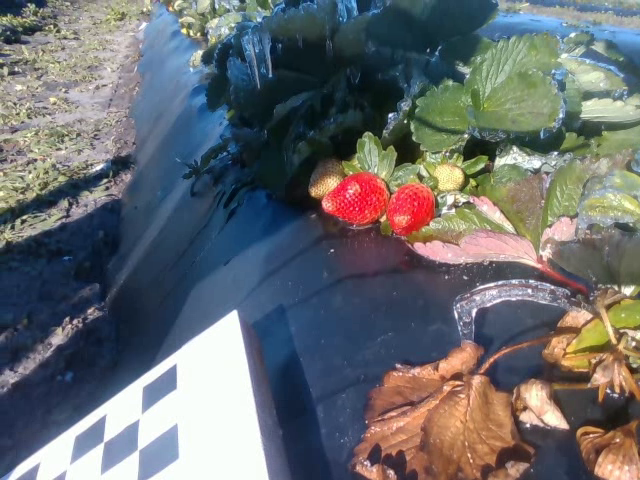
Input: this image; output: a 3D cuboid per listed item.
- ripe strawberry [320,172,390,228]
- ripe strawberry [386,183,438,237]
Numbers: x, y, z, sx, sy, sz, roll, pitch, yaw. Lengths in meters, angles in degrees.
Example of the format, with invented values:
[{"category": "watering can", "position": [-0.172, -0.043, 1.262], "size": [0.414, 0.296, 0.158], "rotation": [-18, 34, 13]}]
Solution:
[{"category": "ripe strawberry", "position": [0.019, -0.024, 0.388], "size": [0.051, 0.040, 0.036], "rotation": [-13, 8, -43]}, {"category": "ripe strawberry", "position": [0.056, -0.019, 0.374], "size": [0.036, 0.030, 0.041], "rotation": [-22, 28, 28]}]
